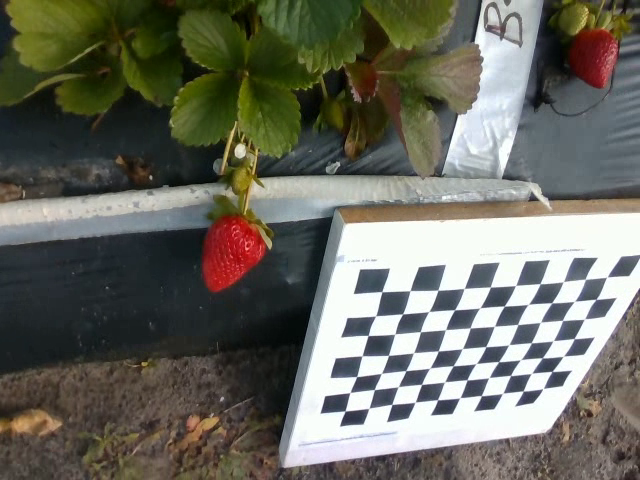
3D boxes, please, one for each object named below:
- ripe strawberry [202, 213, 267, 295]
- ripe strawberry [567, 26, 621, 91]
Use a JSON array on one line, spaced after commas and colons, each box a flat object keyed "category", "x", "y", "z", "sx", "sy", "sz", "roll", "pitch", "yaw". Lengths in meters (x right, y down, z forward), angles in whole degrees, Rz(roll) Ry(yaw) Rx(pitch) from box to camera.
[{"category": "ripe strawberry", "x": -0.053, "y": 0.009, "z": 0.367, "sx": 0.047, "sy": 0.053, "sz": 0.030, "roll": 37, "pitch": -5, "yaw": -39}, {"category": "ripe strawberry", "x": 0.181, "y": -0.112, "z": 0.411, "sx": 0.037, "sy": 0.048, "sz": 0.030, "roll": 11, "pitch": -20, "yaw": -26}]
